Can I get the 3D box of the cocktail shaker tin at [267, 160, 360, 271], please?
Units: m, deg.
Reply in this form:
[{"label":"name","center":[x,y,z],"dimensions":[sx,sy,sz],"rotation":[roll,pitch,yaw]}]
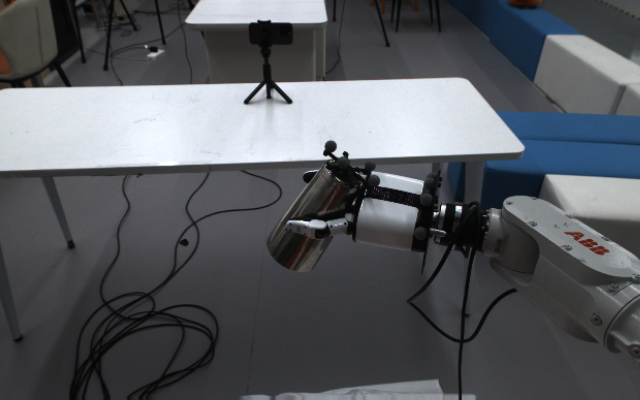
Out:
[{"label":"cocktail shaker tin","center":[-0.005,0.017,0.749],"dimensions":[0.093,0.170,0.093],"rotation":[26,32,-17]}]
